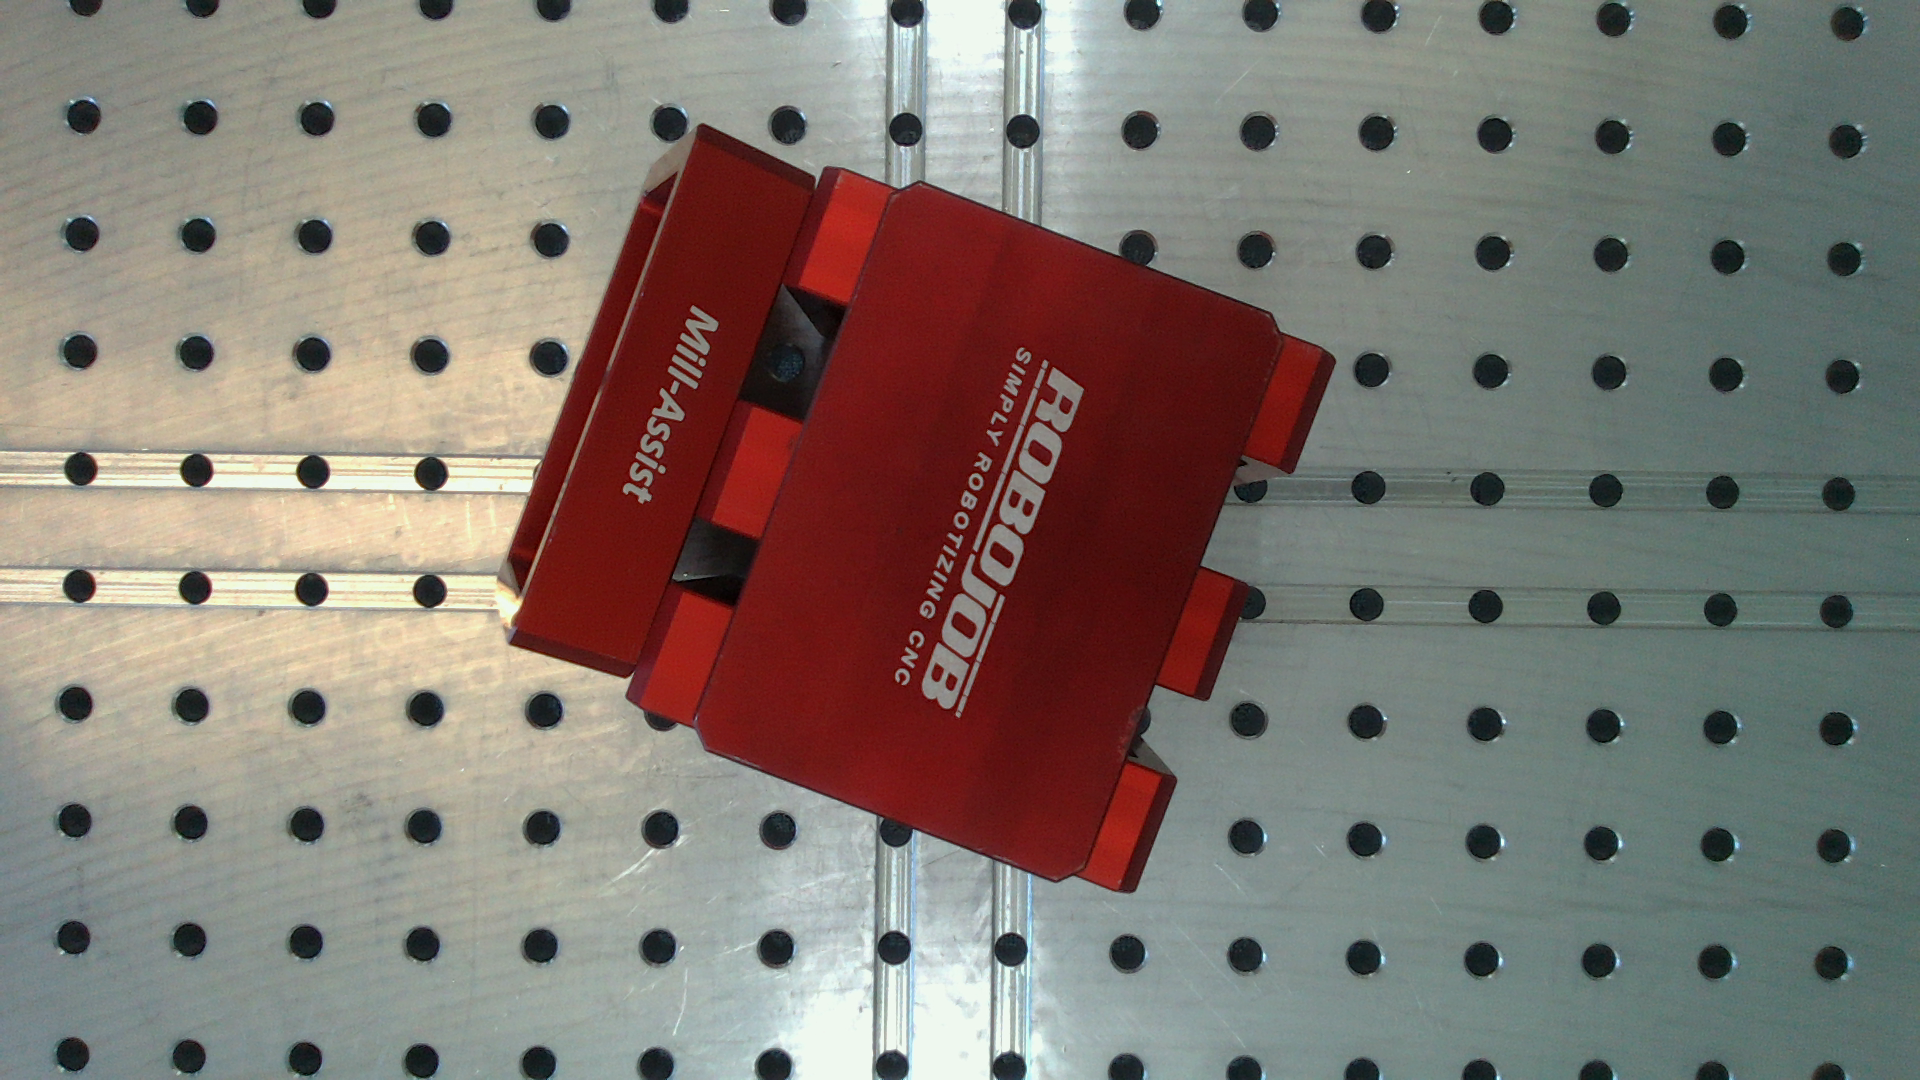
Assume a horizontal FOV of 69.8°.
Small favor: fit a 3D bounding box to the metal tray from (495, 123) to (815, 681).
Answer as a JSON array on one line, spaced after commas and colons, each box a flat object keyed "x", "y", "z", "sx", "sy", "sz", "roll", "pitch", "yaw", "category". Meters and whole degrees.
[{"x": -0.084, "y": -0.037, "z": 0.362, "sx": 0.030, "sy": 0.090, "sz": 0.130, "roll": 21, "pitch": 90, "yaw": -22, "category": "metal tray"}]

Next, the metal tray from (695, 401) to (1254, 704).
[{"x": 0.003, "y": 0.003, "z": 0.364, "sx": 0.130, "sy": 0.090, "sz": 0.030, "roll": 20, "pitch": 89, "yaw": -1, "category": "metal tray"}]

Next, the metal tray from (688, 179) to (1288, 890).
[{"x": 0.006, "y": -0.001, "z": 0.304, "sx": 0.090, "sy": 0.030, "sz": 0.130, "roll": 21, "pitch": 90, "yaw": 0, "category": "metal tray"}]

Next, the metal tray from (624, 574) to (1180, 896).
[{"x": -0.014, "y": 0.047, "z": 0.365, "sx": 0.130, "sy": 0.090, "sz": 0.030, "roll": 21, "pitch": 90, "yaw": 0, "category": "metal tray"}]

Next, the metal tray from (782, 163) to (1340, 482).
[{"x": 0.024, "y": -0.053, "z": 0.364, "sx": 0.130, "sy": 0.090, "sz": 0.030, "roll": 21, "pitch": 91, "yaw": 0, "category": "metal tray"}]
